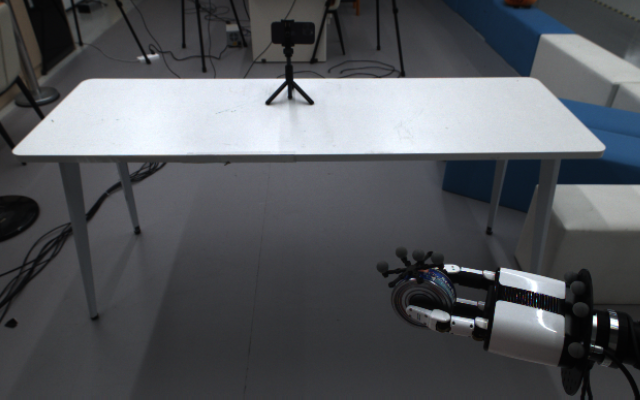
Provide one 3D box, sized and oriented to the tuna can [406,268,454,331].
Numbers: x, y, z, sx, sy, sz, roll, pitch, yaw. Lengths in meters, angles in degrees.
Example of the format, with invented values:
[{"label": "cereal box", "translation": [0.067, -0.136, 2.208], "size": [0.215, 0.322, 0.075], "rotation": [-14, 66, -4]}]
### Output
[{"label": "tuna can", "translation": [0.146, 0.134, 0.671], "size": [0.085, 0.085, 0.034], "rotation": [15, 30, 17]}]
